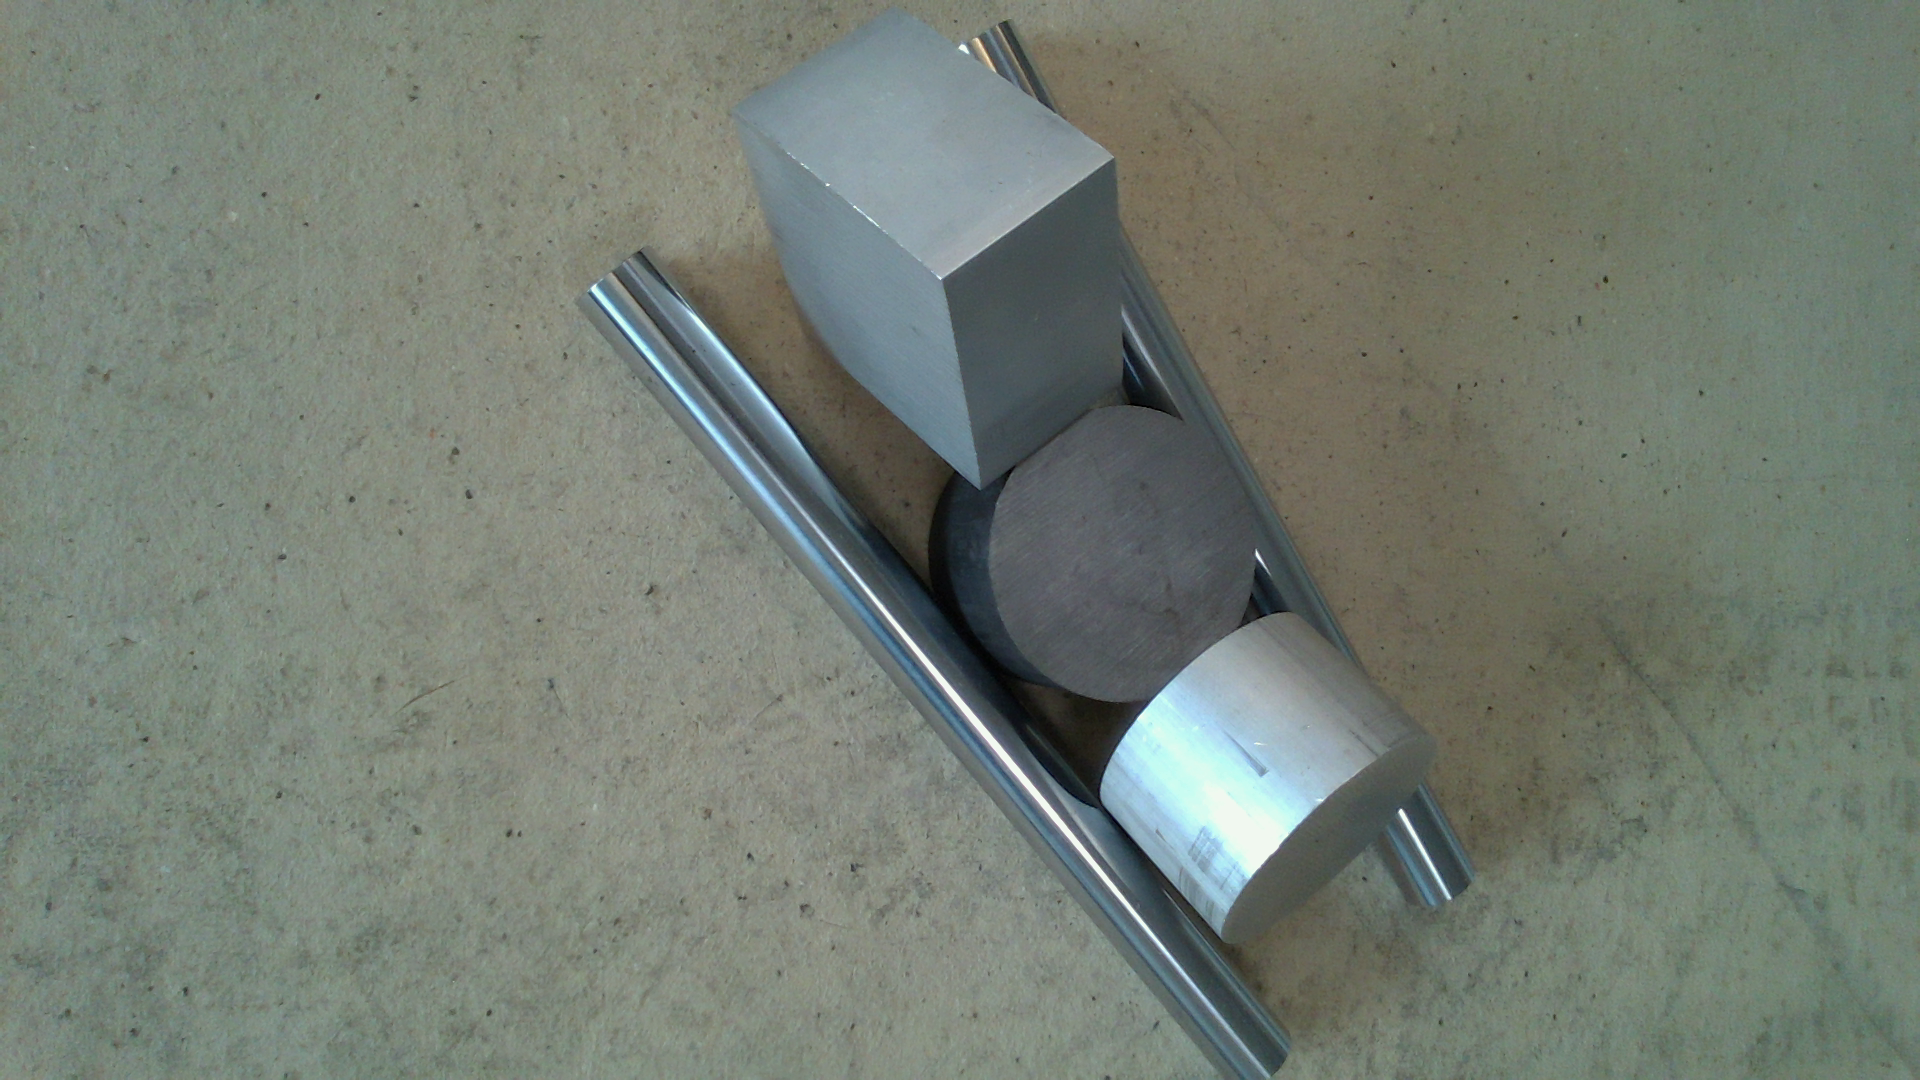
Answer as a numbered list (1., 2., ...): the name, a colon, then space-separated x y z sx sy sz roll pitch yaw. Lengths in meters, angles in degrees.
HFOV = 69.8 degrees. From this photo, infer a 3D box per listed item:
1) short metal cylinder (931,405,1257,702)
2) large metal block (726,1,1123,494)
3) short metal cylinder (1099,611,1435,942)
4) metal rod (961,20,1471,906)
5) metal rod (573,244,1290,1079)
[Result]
1. short metal cylinder: 0.037 0.004 0.394 0.080 0.050 0.080 0 90 -20
2. large metal block: -0.006 -0.072 0.346 0.050 0.080 0.080 -38 61 -16
3. short metal cylinder: 0.086 0.067 0.390 0.080 0.080 0.050 -33 58 -17
4. metal rod: 0.079 -0.015 0.422 0.025 0.025 0.300 -34 101 -17
5. metal rod: 0.000 0.045 0.393 0.025 0.025 0.300 -42 103 -15
